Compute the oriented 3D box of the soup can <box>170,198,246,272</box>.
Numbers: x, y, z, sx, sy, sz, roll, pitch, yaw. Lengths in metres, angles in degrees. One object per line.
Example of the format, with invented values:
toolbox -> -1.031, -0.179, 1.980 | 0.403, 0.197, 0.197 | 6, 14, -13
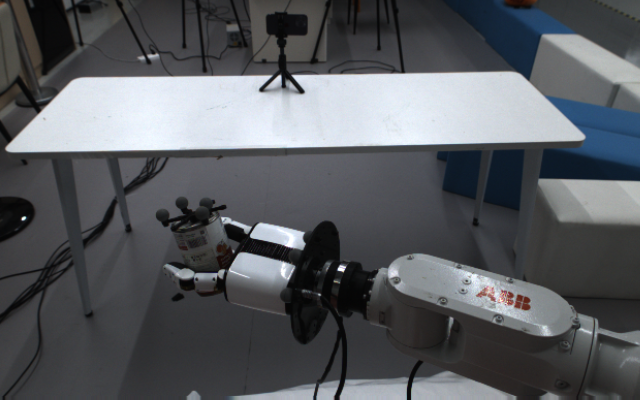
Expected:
soup can -> -0.153, 0.072, 0.660 | 0.067, 0.101, 0.067 | -13, 20, 5
